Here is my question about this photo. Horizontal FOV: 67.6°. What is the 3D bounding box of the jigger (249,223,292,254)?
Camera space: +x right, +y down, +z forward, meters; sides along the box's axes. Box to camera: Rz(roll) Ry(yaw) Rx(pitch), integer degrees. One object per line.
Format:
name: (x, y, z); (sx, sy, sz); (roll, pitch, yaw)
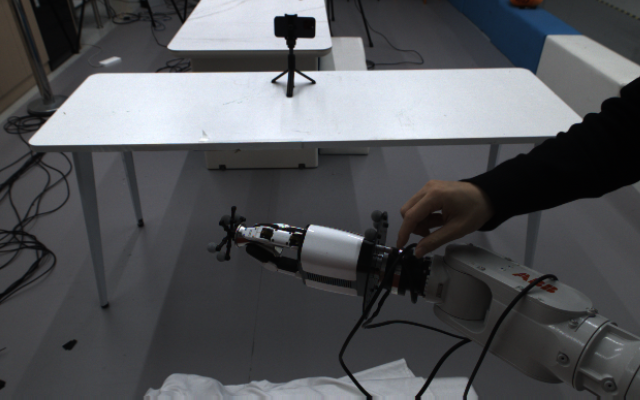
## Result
jigger: (-0.089, 0.057, 0.754); (0.071, 0.043, 0.043); (10, 35, 16)
